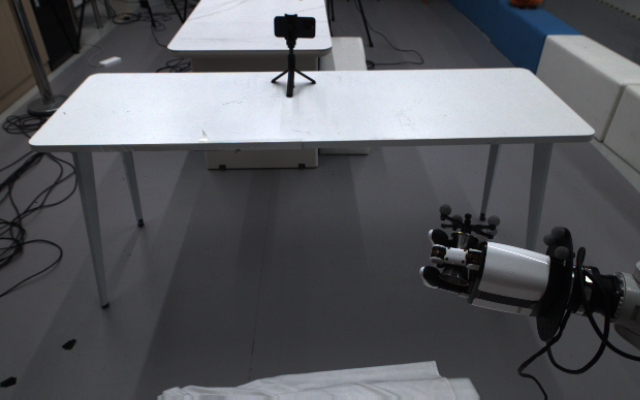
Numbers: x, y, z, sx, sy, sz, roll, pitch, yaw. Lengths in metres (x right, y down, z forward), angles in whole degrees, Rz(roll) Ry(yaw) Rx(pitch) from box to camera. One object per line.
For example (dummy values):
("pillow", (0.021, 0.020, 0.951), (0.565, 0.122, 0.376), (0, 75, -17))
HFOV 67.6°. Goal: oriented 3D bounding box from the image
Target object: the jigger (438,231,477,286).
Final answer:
("jigger", (0.206, 0.084, 0.705), (0.043, 0.043, 0.071), (13, 69, 15))
